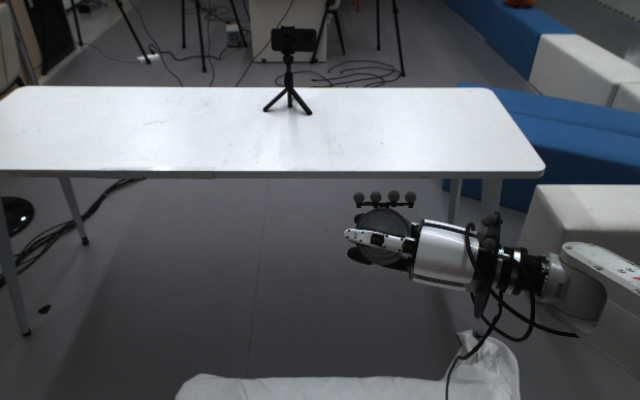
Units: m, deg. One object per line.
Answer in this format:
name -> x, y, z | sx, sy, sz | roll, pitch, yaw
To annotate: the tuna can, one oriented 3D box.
tuna can -> 0.098, 0.053, 0.738 | 0.085, 0.085, 0.034 | 15, 2, 18
